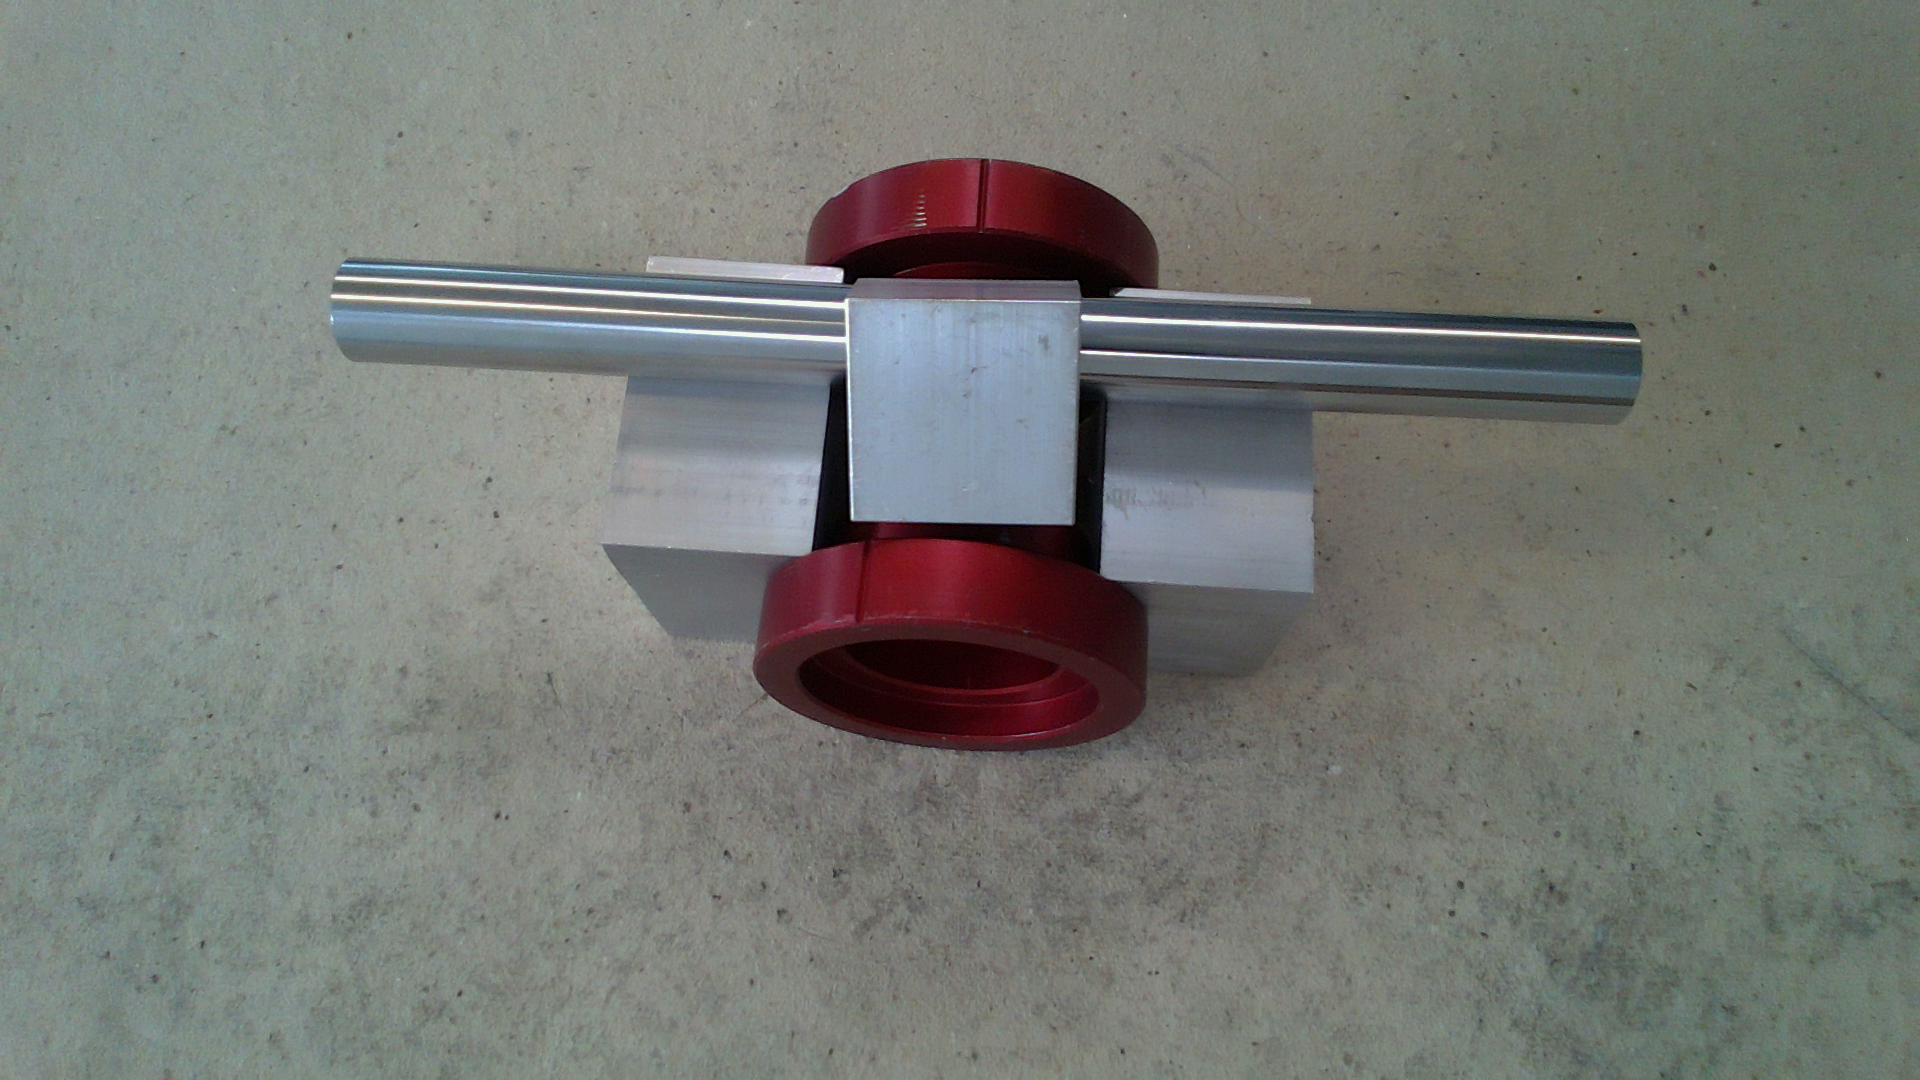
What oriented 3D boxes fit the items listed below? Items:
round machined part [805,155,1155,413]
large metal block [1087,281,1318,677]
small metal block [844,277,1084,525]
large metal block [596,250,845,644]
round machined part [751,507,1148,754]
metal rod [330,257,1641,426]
[{"bbox_3d":[0.005,-0.059,0.377,0.098,0.098,0.042,4,71,1],"label":"round machined part"},{"bbox_3d":[0.061,-0.013,0.370,0.050,0.080,0.080,3,70,1],"label":"large metal block"},{"bbox_3d":[0.001,-0.031,0.307,0.050,0.025,0.050,1,110,2],"label":"small metal block"},{"bbox_3d":[-0.057,-0.021,0.373,0.050,0.080,0.080,4,70,2],"label":"large metal block"},{"bbox_3d":[-0.001,0.020,0.348,0.098,0.098,0.042,4,65,2],"label":"round machined part"},{"bbox_3d":[0.005,-0.047,0.327,0.300,0.025,0.025,3,70,1],"label":"metal rod"}]
